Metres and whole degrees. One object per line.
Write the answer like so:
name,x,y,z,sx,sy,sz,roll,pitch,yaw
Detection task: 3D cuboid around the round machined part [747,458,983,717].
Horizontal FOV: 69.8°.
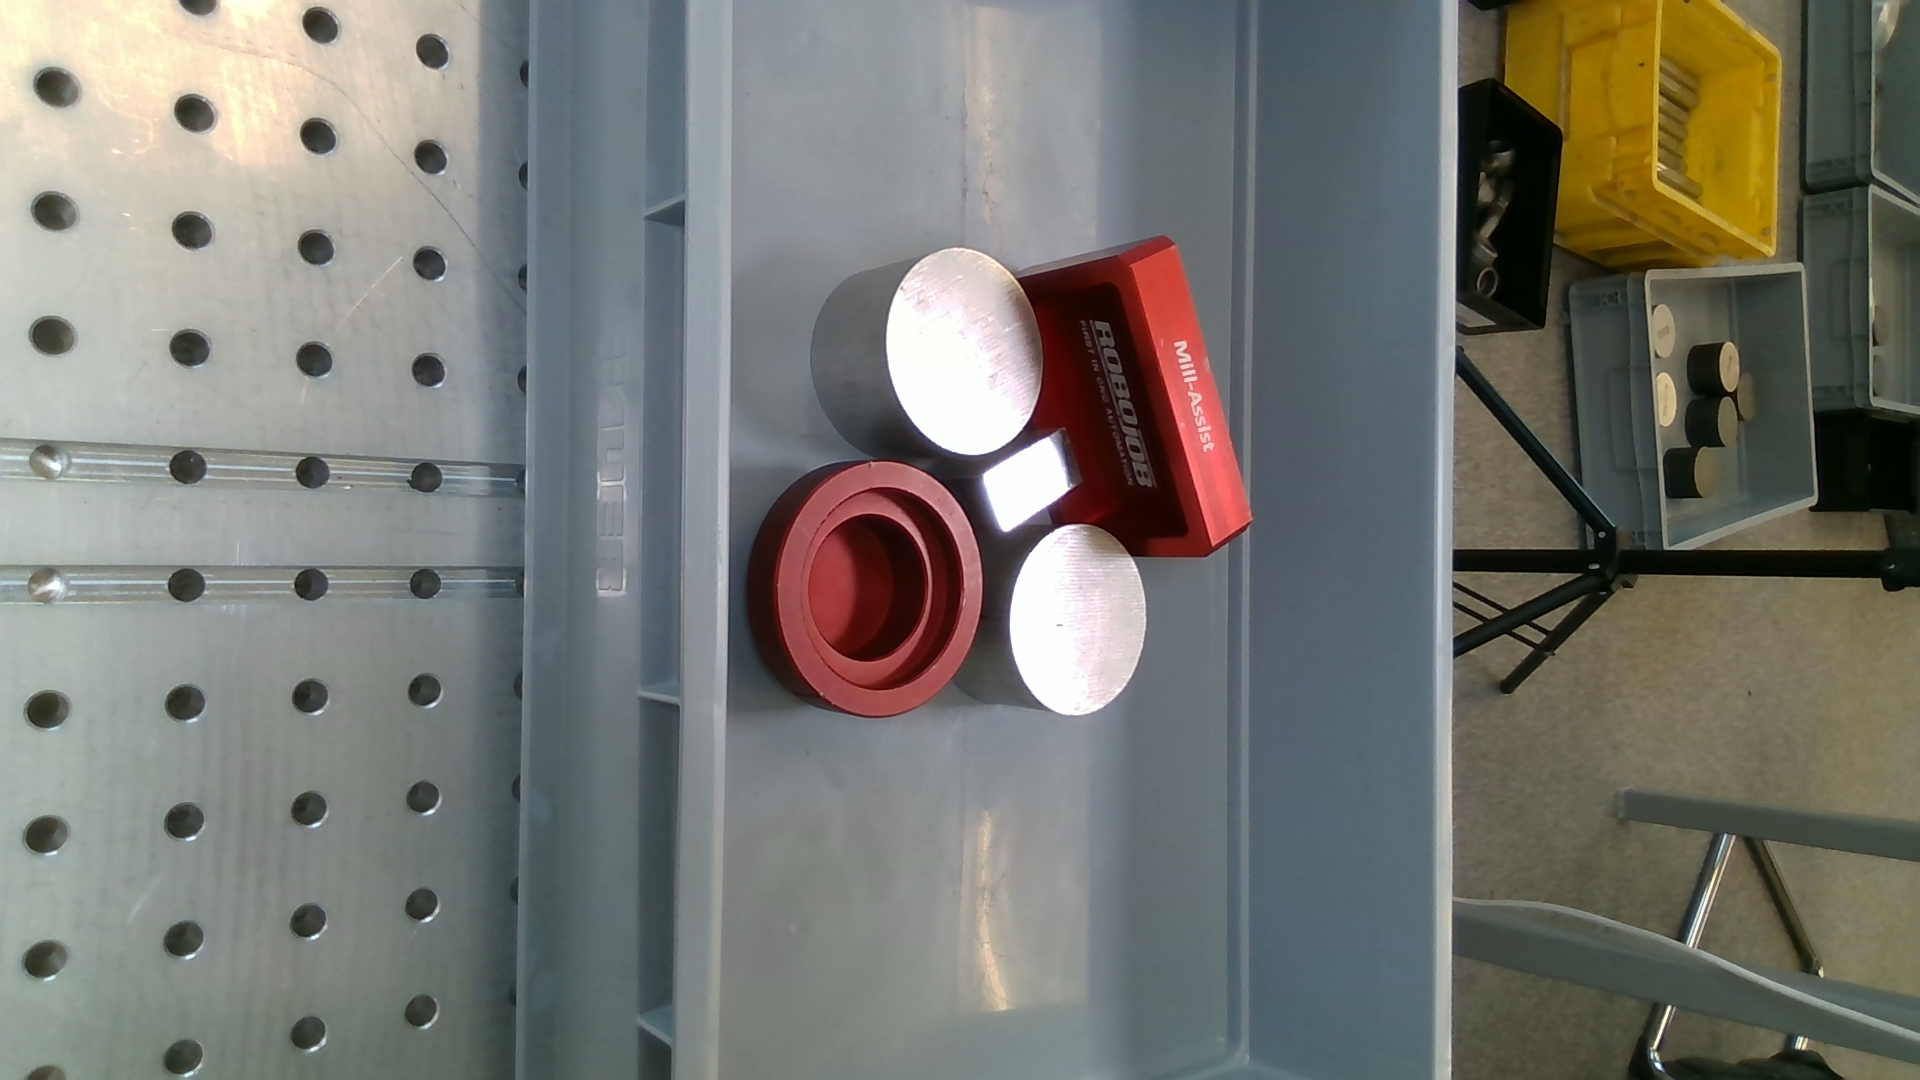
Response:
round machined part,-0.041,0.018,0.536,0.098,0.042,0.098,0,90,-40

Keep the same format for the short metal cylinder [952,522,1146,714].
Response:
short metal cylinder,0.035,0.033,0.595,0.080,0.050,0.080,0,90,-40

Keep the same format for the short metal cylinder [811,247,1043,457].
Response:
short metal cylinder,-0.013,-0.074,0.555,0.080,0.050,0.080,0,90,-40

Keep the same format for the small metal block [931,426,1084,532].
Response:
small metal block,0.014,-0.025,0.577,0.050,0.050,0.025,-32,110,-36

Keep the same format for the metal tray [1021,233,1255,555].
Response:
metal tray,0.068,-0.058,0.595,0.030,0.090,0.130,-30,108,-36
